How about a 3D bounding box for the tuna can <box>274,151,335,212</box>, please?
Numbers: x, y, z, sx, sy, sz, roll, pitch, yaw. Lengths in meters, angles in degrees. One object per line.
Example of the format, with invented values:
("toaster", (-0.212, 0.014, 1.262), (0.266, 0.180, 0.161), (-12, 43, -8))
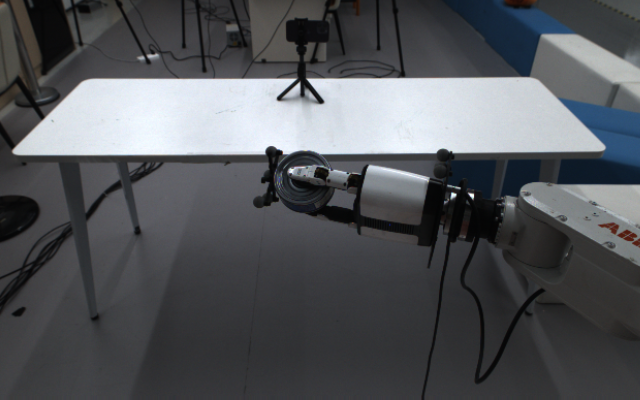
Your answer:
("tuna can", (-0.021, -0.028, 0.690), (0.085, 0.034, 0.085), (-2, 69, 6))
